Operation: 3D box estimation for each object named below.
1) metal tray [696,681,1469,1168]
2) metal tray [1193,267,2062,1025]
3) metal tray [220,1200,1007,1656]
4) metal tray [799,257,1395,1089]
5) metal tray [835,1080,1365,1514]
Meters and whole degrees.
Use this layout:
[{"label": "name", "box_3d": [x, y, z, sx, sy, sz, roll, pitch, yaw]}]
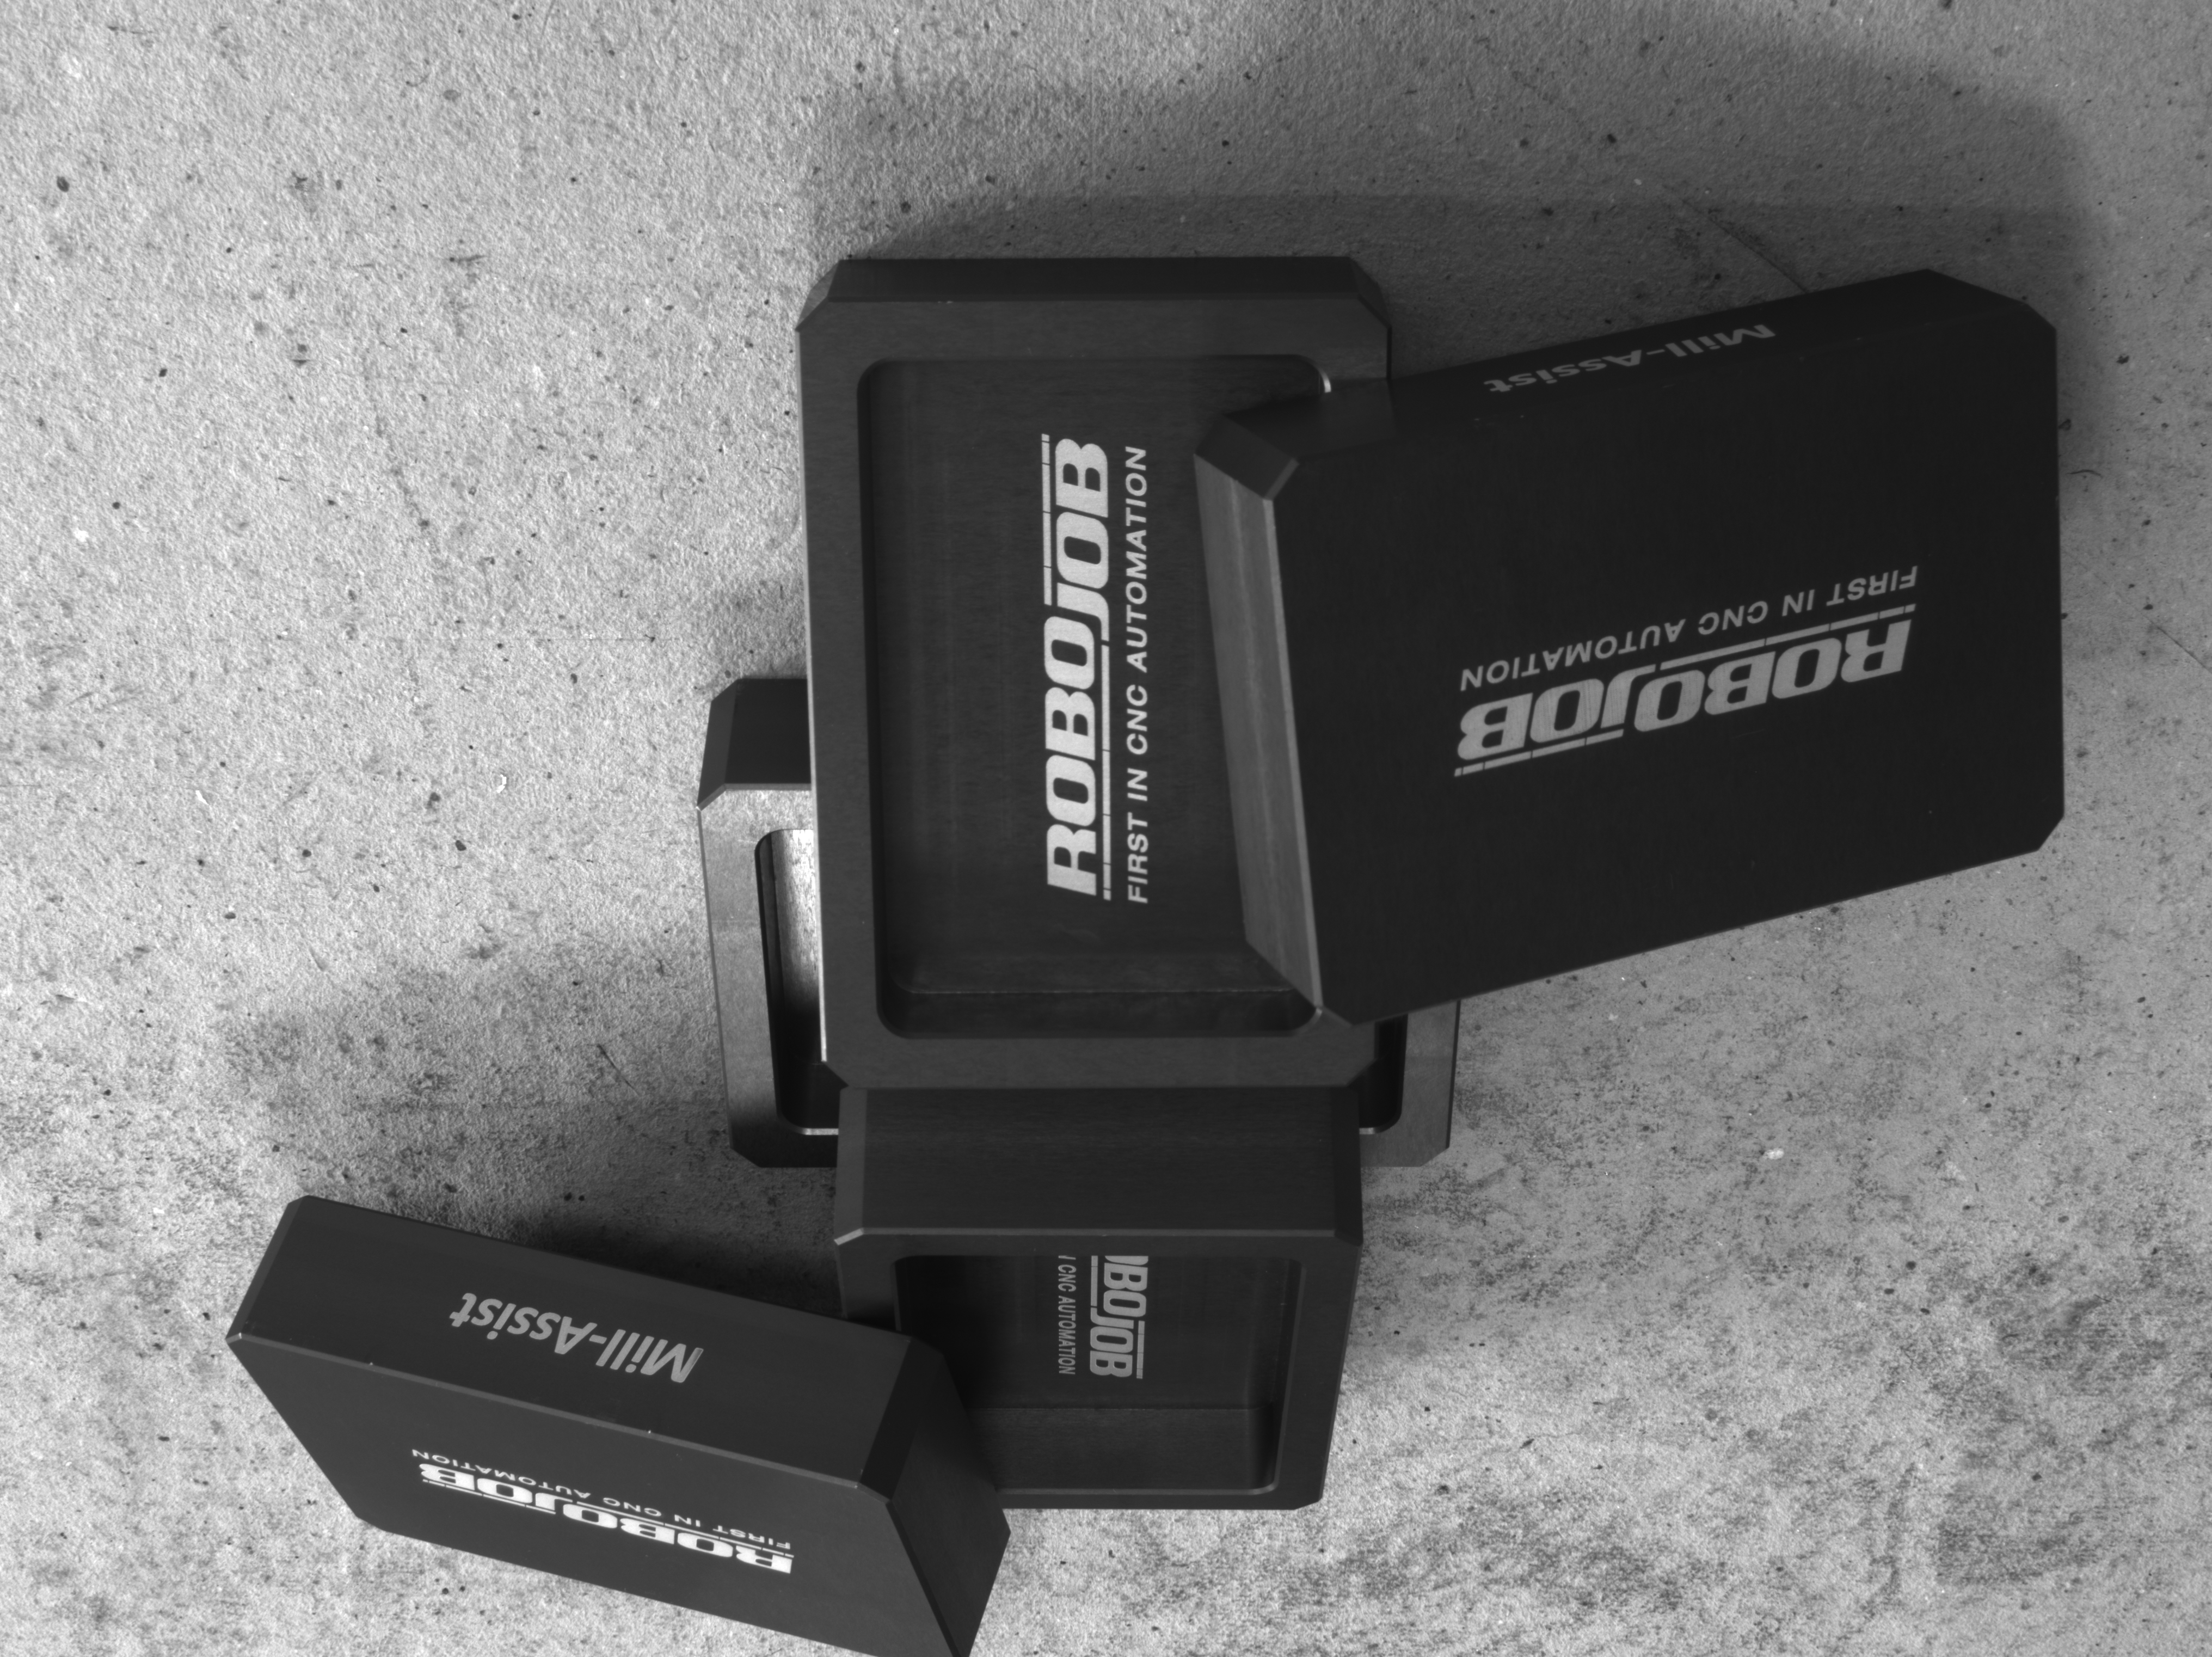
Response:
[{"label": "metal tray", "box_3d": [-0.003, 0.018, 0.651, 0.130, 0.030, 0.090, 0, 130, 0]}, {"label": "metal tray", "box_3d": [0.083, -0.029, 0.570, 0.130, 0.030, 0.090, -13, 112, -16]}, {"label": "metal tray", "box_3d": [-0.090, 0.115, 0.694, 0.130, 0.030, 0.090, 10, 148, 15]}, {"label": "metal tray", "box_3d": [-0.001, -0.024, 0.590, 0.090, 0.030, 0.130, -1, 110, 0]}, {"label": "metal tray", "box_3d": [-0.001, 0.090, 0.685, 0.090, 0.030, 0.130, 1, 149, 0]}]
